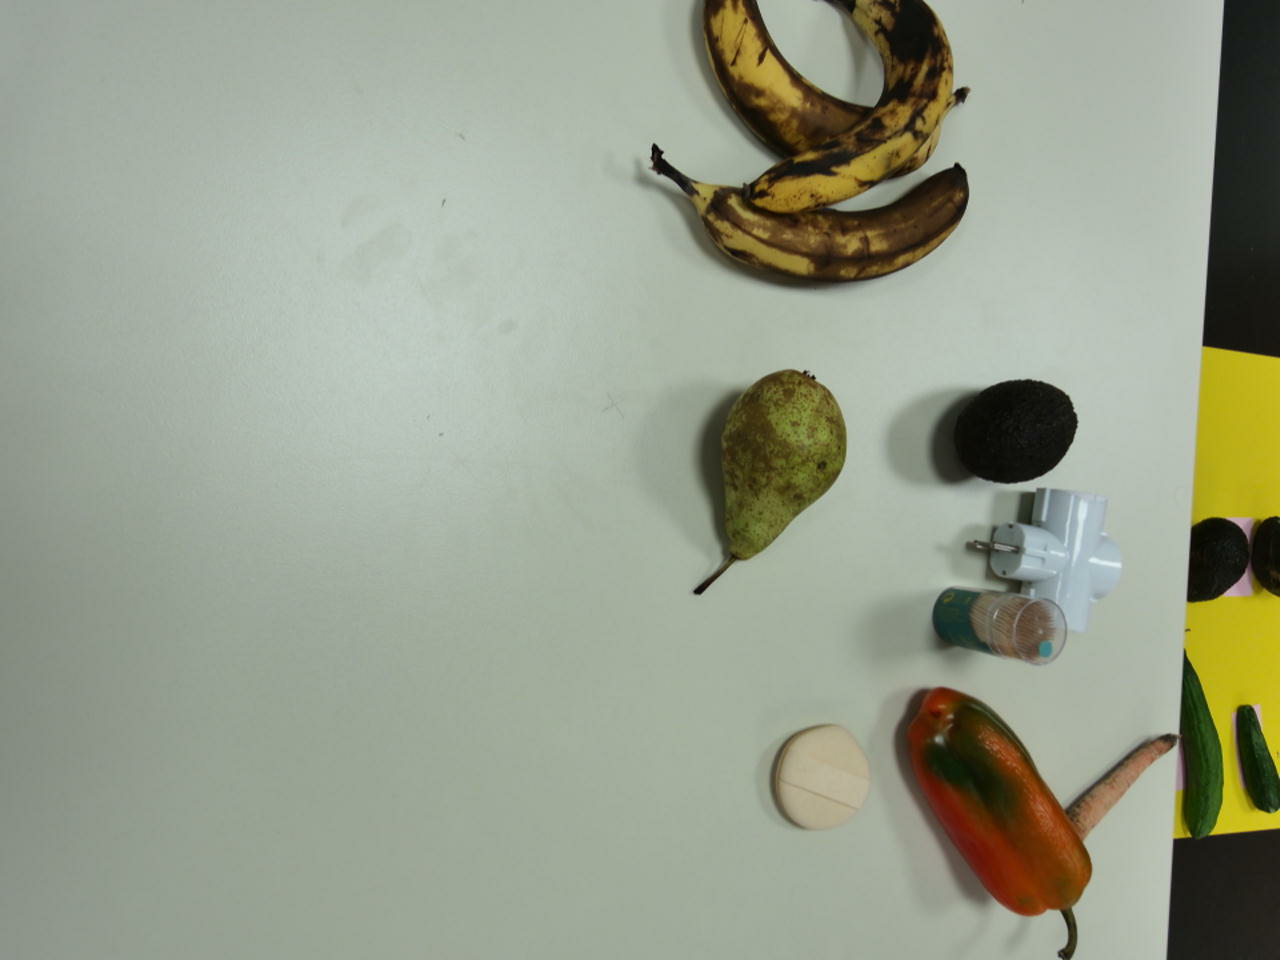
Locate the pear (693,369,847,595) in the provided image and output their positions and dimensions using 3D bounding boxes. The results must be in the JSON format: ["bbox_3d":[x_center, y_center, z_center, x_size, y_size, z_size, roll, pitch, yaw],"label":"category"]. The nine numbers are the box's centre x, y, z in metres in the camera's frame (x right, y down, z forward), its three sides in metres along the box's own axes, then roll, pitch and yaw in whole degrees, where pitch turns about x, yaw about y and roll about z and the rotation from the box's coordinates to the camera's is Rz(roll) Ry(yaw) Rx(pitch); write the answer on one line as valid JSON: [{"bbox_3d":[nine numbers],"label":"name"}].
[{"bbox_3d":[0.081,0.001,0.572,0.071,0.075,0.128,-2,92,-22],"label":"pear"}]
